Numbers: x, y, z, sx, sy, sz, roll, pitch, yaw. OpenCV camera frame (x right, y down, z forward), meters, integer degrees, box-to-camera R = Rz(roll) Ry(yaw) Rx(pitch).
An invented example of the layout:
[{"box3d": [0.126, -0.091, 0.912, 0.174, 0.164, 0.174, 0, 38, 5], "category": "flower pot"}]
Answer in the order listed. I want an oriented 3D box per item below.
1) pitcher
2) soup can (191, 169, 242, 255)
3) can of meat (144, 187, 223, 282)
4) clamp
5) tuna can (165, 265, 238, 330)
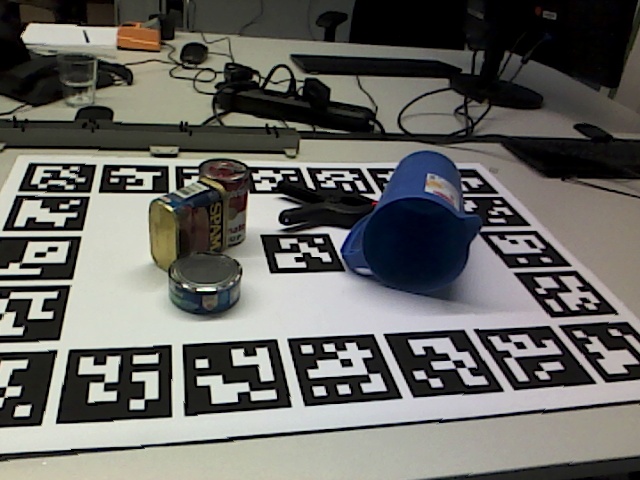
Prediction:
[{"box3d": [0.132, -0.032, 0.866, 0.189, 0.133, 0.242, -10, 20, 15], "category": "pitcher"}, {"box3d": [-0.143, -0.038, 0.858, 0.068, 0.102, 0.068, 3, 33, -3], "category": "soup can"}, {"box3d": [-0.174, -0.005, 0.788, 0.058, 0.101, 0.083, 30, 42, 31], "category": "can of meat"}, {"box3d": [-0.008, -0.037, 0.963, 0.164, 0.036, 0.122, 3, 27, -14], "category": "clamp"}, {"box3d": [-0.142, 0.069, 0.744, 0.085, 0.033, 0.086, 5, 33, -4], "category": "tuna can"}]
